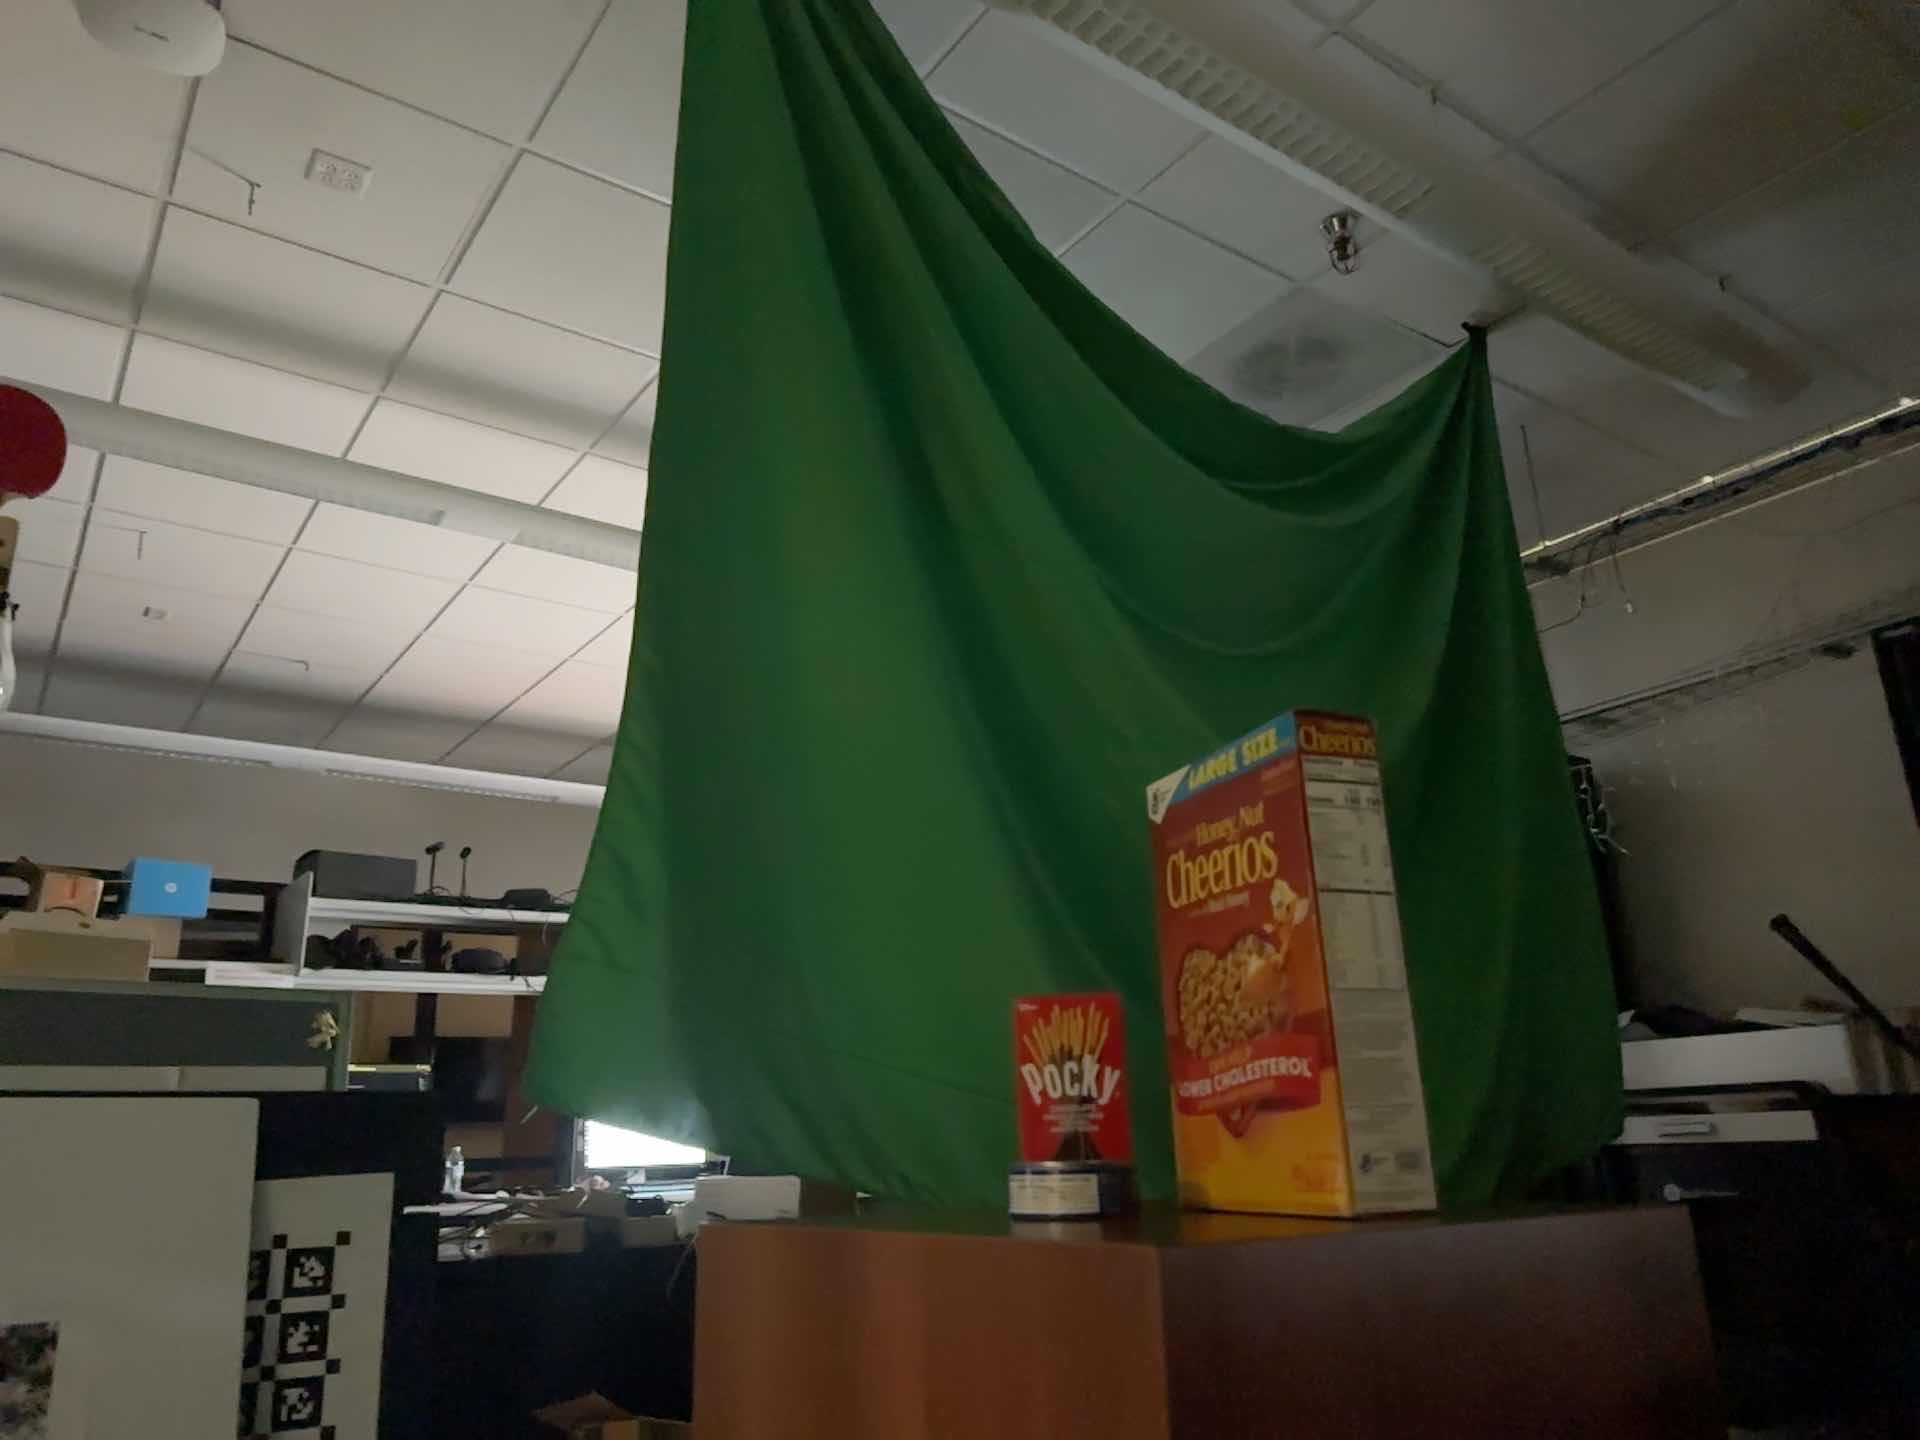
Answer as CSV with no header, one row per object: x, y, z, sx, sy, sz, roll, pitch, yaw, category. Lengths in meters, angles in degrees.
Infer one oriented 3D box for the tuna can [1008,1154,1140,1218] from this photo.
0.074,0.301,0.870,0.083,0.034,0.083,-2,-16,-1,tuna can

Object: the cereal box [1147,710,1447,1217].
0.212,0.167,0.904,0.065,0.297,0.195,5,-17,-22,cereal box

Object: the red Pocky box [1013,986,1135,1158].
0.083,0.275,0.987,0.083,0.155,0.028,-5,-15,7,red Pocky box
